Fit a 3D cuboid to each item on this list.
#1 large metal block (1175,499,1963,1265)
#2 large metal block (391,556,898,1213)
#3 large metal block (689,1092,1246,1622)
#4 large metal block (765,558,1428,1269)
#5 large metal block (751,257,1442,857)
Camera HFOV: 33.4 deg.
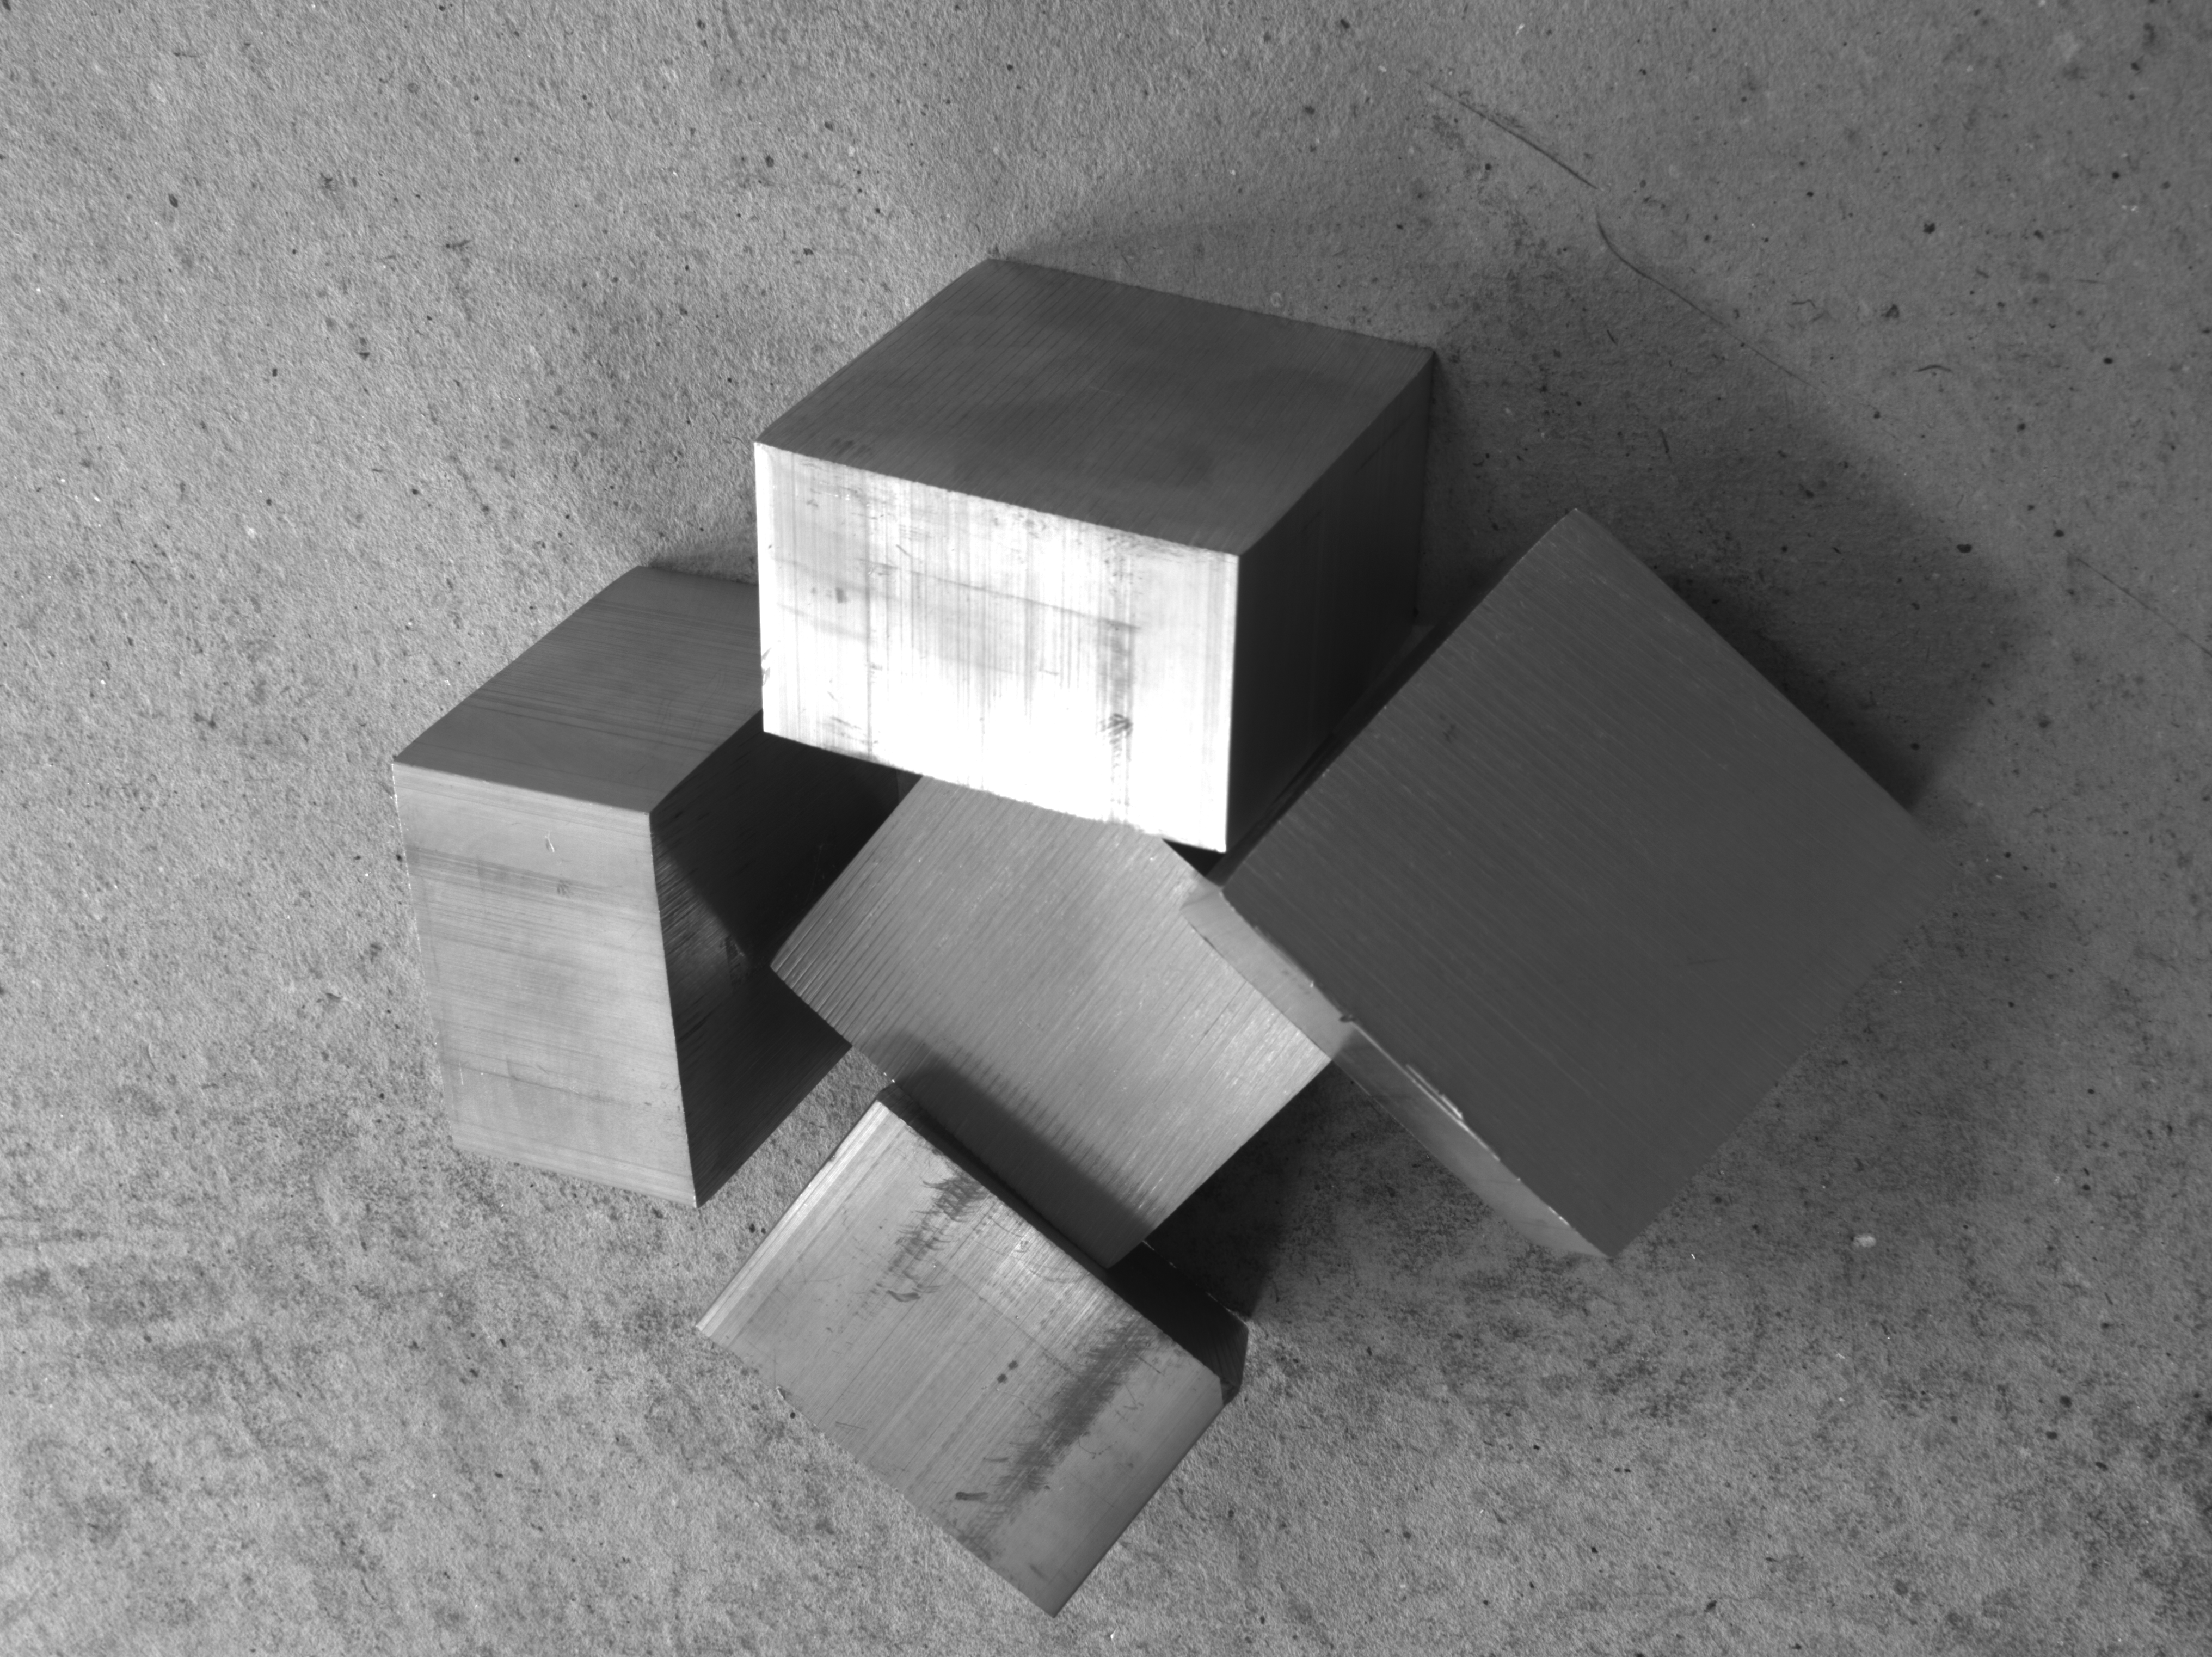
[{"bbox_3d":[0.069,0.009,0.568,0.080,0.080,0.050,43,173,-1],"label":"large metal block"},{"bbox_3d":[-0.078,0.008,0.655,0.050,0.080,0.080,11,124,22],"label":"large metal block"},{"bbox_3d":[-0.022,0.090,0.666,0.080,0.080,0.050,39,92,2],"label":"large metal block"},{"bbox_3d":[0.002,0.016,0.632,0.080,0.050,0.080,41,129,-1],"label":"large metal block"},{"bbox_3d":[0.000,-0.045,0.580,0.080,0.080,0.050,15,124,20],"label":"large metal block"}]
